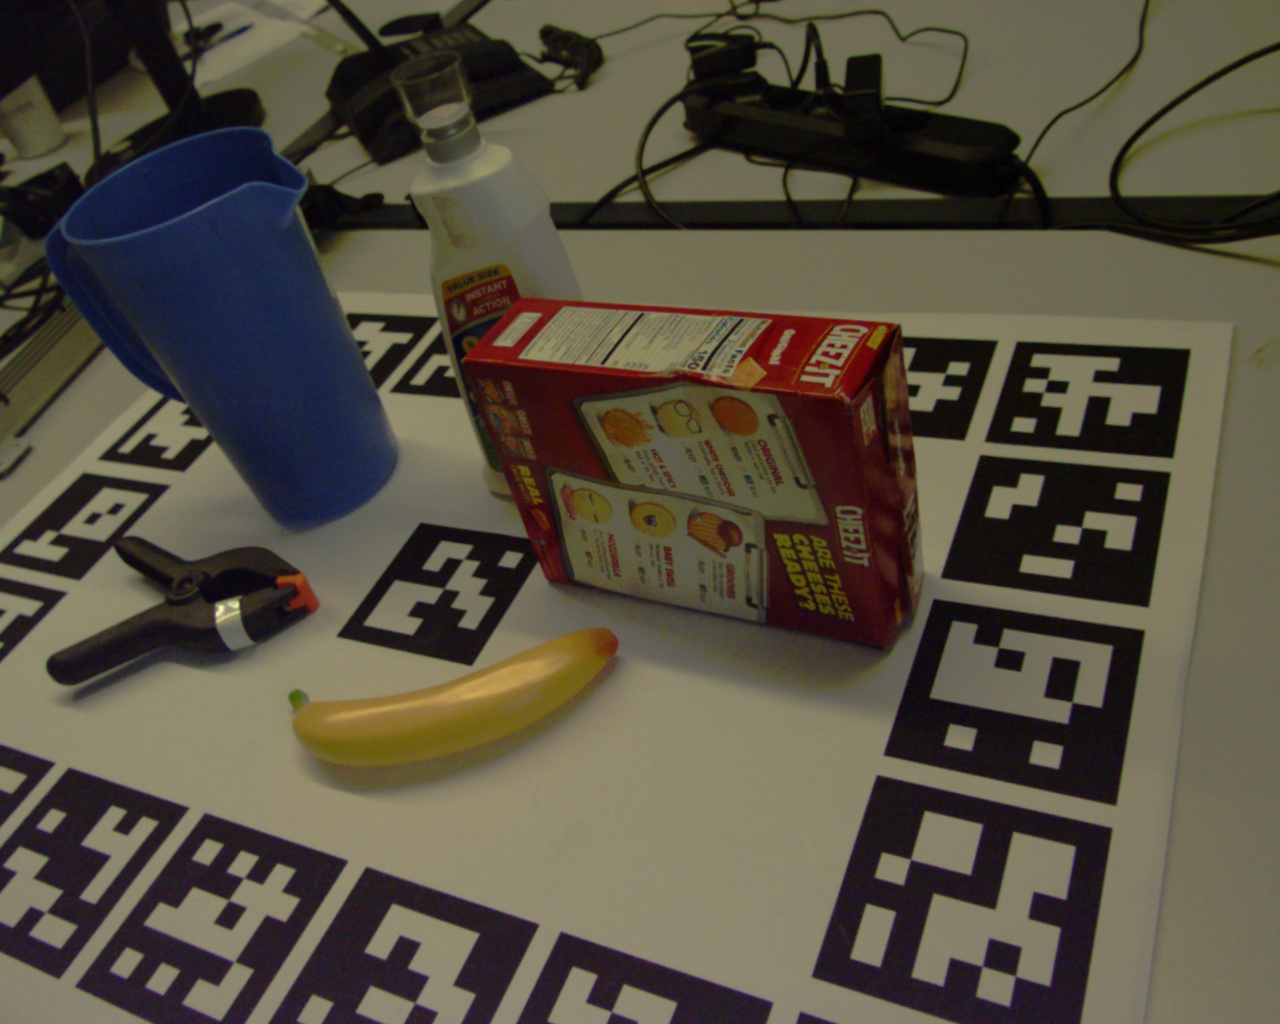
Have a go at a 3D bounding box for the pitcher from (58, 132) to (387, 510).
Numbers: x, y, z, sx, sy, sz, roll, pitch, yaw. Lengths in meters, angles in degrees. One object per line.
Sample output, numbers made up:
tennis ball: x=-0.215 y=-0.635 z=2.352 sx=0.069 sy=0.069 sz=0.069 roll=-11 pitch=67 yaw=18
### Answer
pitcher: x=-0.271 y=-0.120 z=0.779 sx=0.190 sy=0.241 sz=0.133 roll=-5 pitch=40 yaw=11

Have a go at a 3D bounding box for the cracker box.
cracker box: x=0.032 y=-0.026 z=0.630 sx=0.216 sy=0.163 sz=0.071 roll=7 pitch=42 yaw=29

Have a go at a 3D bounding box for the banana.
banana: x=-0.095 y=0.106 z=0.658 sx=0.197 sy=0.038 sz=0.075 roll=-17 pitch=39 yaw=2

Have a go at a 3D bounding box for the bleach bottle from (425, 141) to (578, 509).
bleach bottle: x=-0.084 y=-0.113 z=0.730 sx=0.104 sy=0.249 sz=0.067 roll=7 pitch=44 yaw=27

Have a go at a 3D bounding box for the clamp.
clamp: x=-0.285 y=0.061 z=0.769 sx=0.166 sy=0.036 sz=0.122 roll=-4 pitch=40 yaw=13
